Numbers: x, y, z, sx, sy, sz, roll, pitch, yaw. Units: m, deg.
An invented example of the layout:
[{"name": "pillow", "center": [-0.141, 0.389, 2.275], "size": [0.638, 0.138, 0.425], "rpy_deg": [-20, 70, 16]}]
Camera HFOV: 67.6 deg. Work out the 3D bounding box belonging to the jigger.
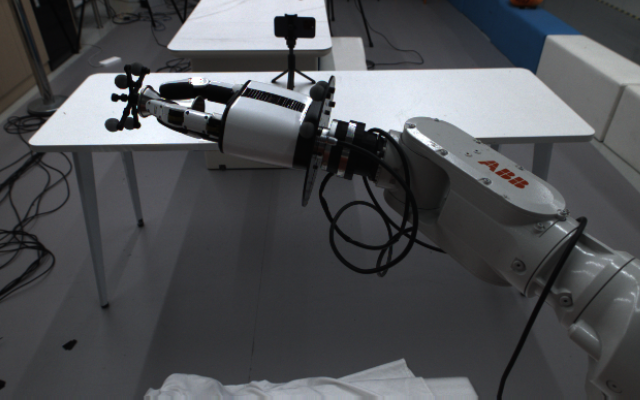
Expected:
[{"name": "jigger", "center": [-0.175, -0.118, 0.595], "size": [0.071, 0.043, 0.043], "rpy_deg": [14, 36, 4]}]
